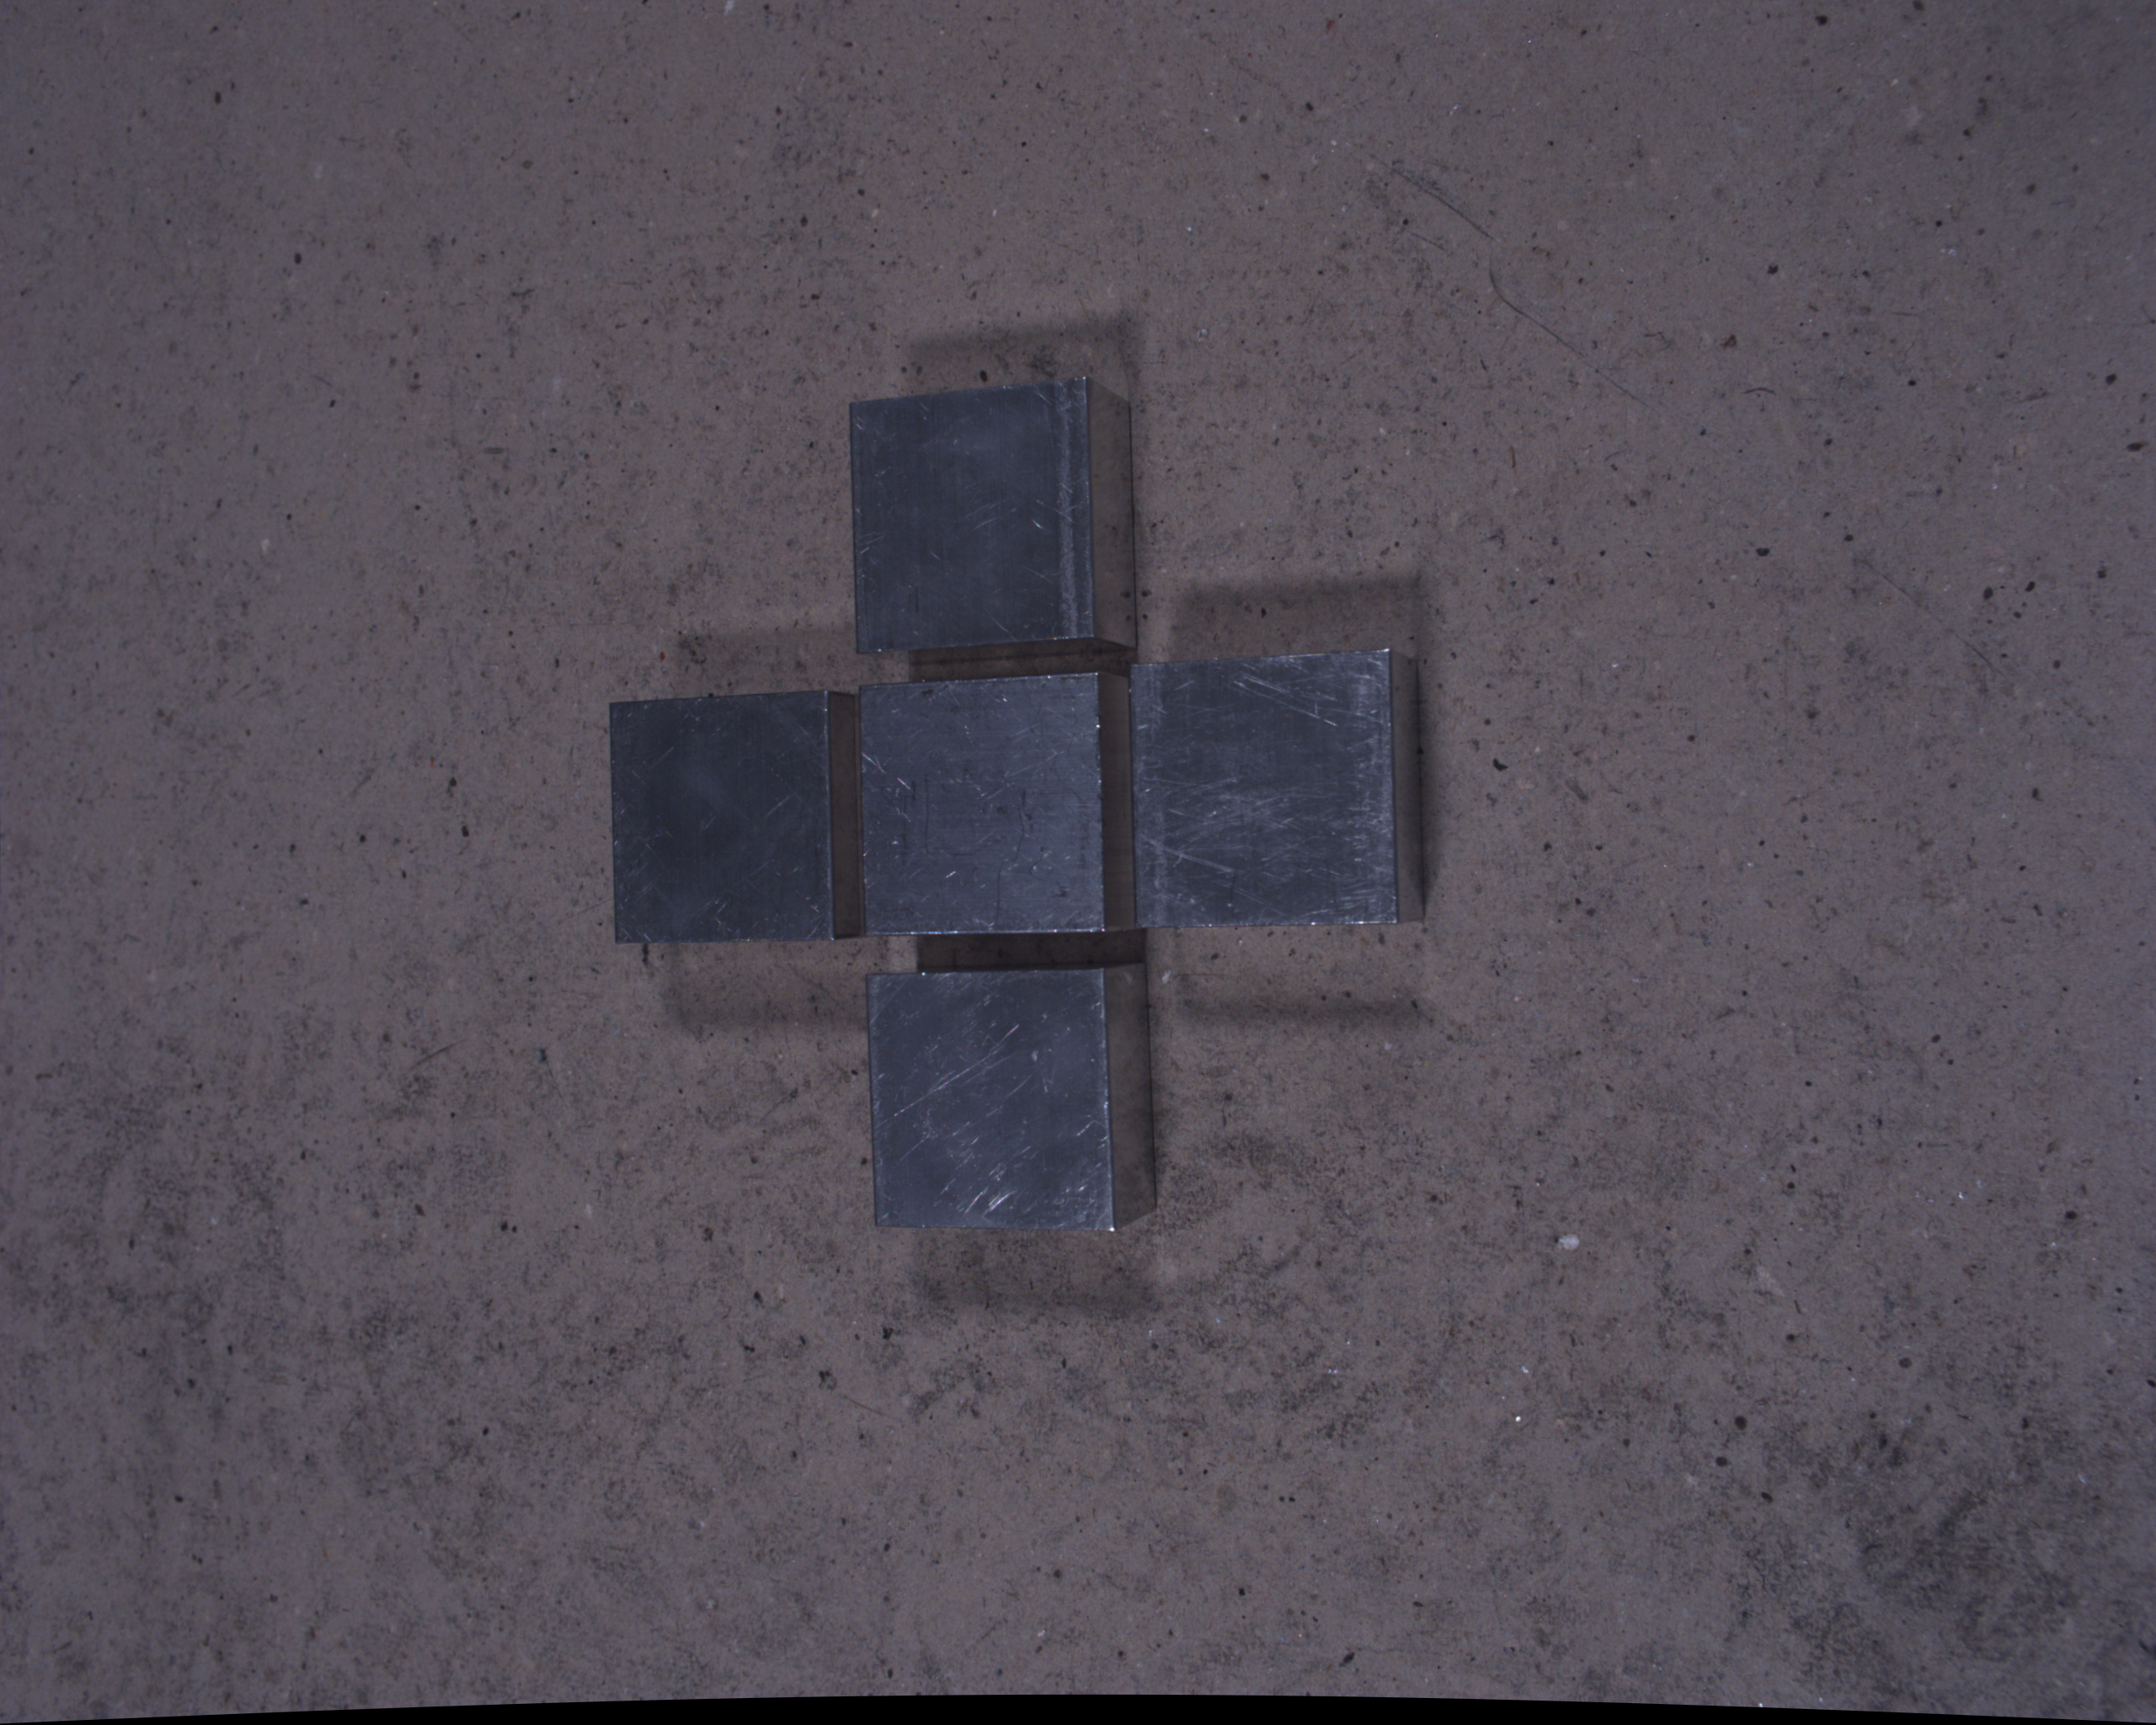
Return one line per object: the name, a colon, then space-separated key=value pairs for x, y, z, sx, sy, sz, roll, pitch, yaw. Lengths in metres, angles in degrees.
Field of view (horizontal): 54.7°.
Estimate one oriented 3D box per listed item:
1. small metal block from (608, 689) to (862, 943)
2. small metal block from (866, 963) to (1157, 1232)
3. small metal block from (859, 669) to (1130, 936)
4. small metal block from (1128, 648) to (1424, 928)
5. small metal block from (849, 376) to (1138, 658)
small metal block: x=-0.068 y=-0.009 z=0.433 sx=0.050 sy=0.025 sz=0.050 roll=-2 pitch=89 yaw=19
small metal block: x=-0.013 y=0.046 z=0.414 sx=0.050 sy=0.025 sz=0.050 roll=-2 pitch=89 yaw=19
small metal block: x=-0.015 y=-0.011 z=0.415 sx=0.050 sy=0.025 sz=0.050 roll=-2 pitch=89 yaw=19
small metal block: x=0.038 y=-0.013 z=0.396 sx=0.050 sy=0.025 sz=0.050 roll=-2 pitch=89 yaw=19
small metal block: x=-0.017 y=-0.067 z=0.415 sx=0.050 sy=0.025 sz=0.050 roll=-2 pitch=89 yaw=19
